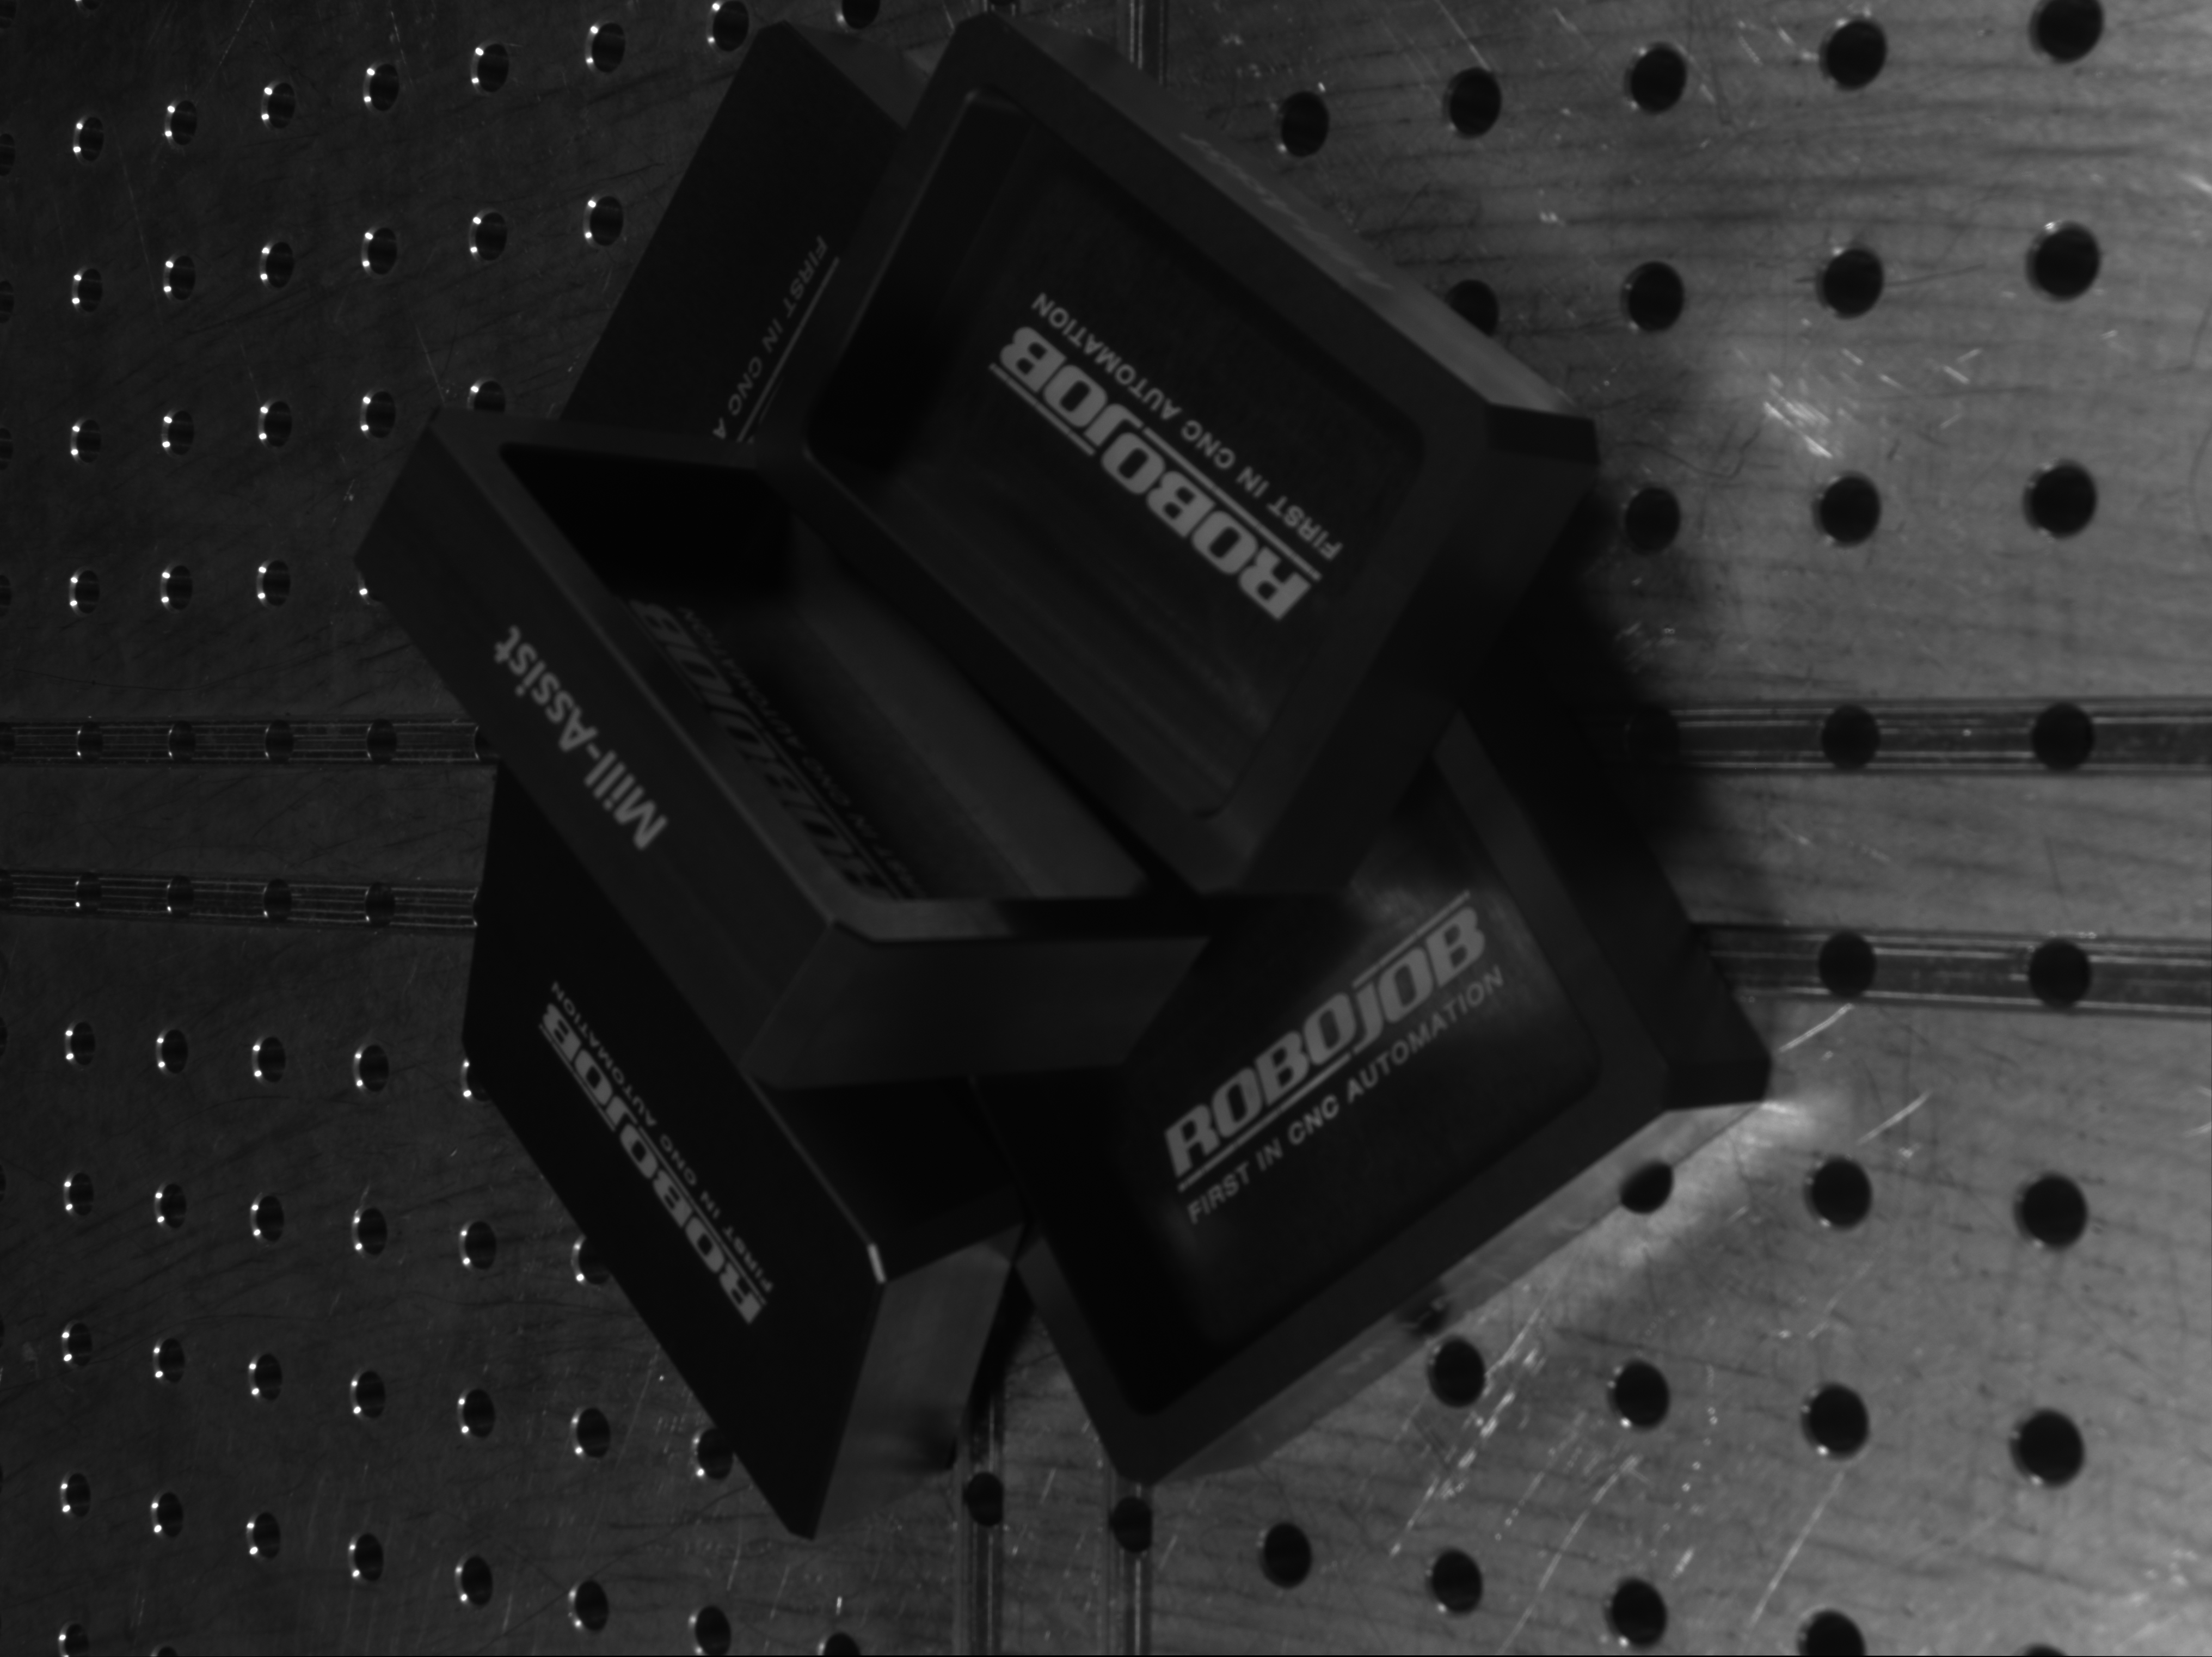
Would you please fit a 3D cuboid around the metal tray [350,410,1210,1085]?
[{"bbox_3d":[-0.053,-0.015,0.601,0.130,0.090,0.030,48,118,29],"label":"metal tray"}]

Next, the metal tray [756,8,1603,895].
[{"bbox_3d":[0.008,-0.061,0.591,0.130,0.030,0.090,43,116,31],"label":"metal tray"}]

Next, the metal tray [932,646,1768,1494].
[{"bbox_3d":[0.035,0.040,0.606,0.130,0.030,0.090,-41,65,32],"label":"metal tray"}]

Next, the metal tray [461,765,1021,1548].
[{"bbox_3d":[-0.071,0.055,0.670,0.130,0.030,0.090,50,144,28],"label":"metal tray"}]

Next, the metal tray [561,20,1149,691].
[{"bbox_3d":[-0.057,-0.071,0.682,0.090,0.030,0.130,46,117,30],"label":"metal tray"}]
